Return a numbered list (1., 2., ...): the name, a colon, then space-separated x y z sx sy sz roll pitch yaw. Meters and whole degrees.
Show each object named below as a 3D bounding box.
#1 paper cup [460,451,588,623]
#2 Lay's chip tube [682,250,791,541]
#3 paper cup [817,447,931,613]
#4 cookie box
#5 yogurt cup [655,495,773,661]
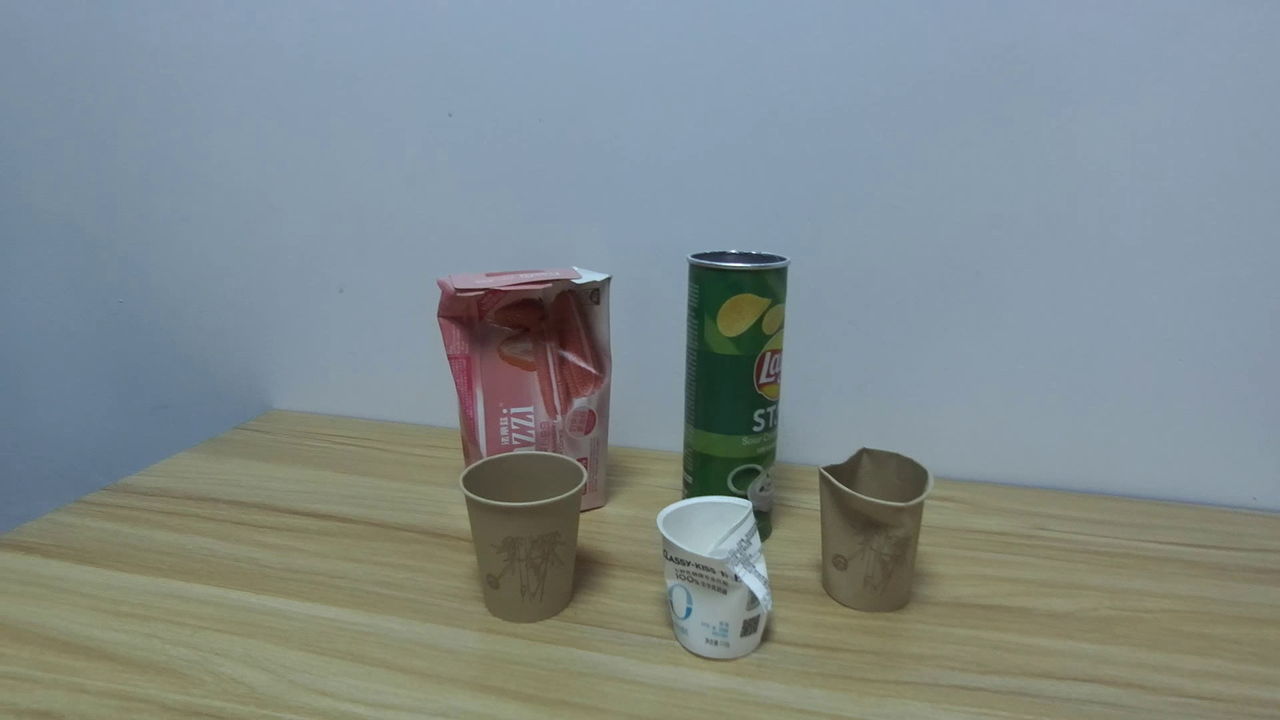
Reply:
1. paper cup: -0.069 0.108 0.429 0.075 0.082 0.075 1 17 0
2. Lay's chip tube: 0.065 0.026 0.501 0.071 0.202 0.071 1 16 0
3. paper cup: 0.148 0.107 0.441 0.072 0.084 0.066 -14 20 -42
4. cookie box: -0.082 0.028 0.525 0.119 0.184 0.055 -7 18 -21
5. yogurt cup: 0.042 0.124 0.402 0.067 0.070 0.067 0 18 0
